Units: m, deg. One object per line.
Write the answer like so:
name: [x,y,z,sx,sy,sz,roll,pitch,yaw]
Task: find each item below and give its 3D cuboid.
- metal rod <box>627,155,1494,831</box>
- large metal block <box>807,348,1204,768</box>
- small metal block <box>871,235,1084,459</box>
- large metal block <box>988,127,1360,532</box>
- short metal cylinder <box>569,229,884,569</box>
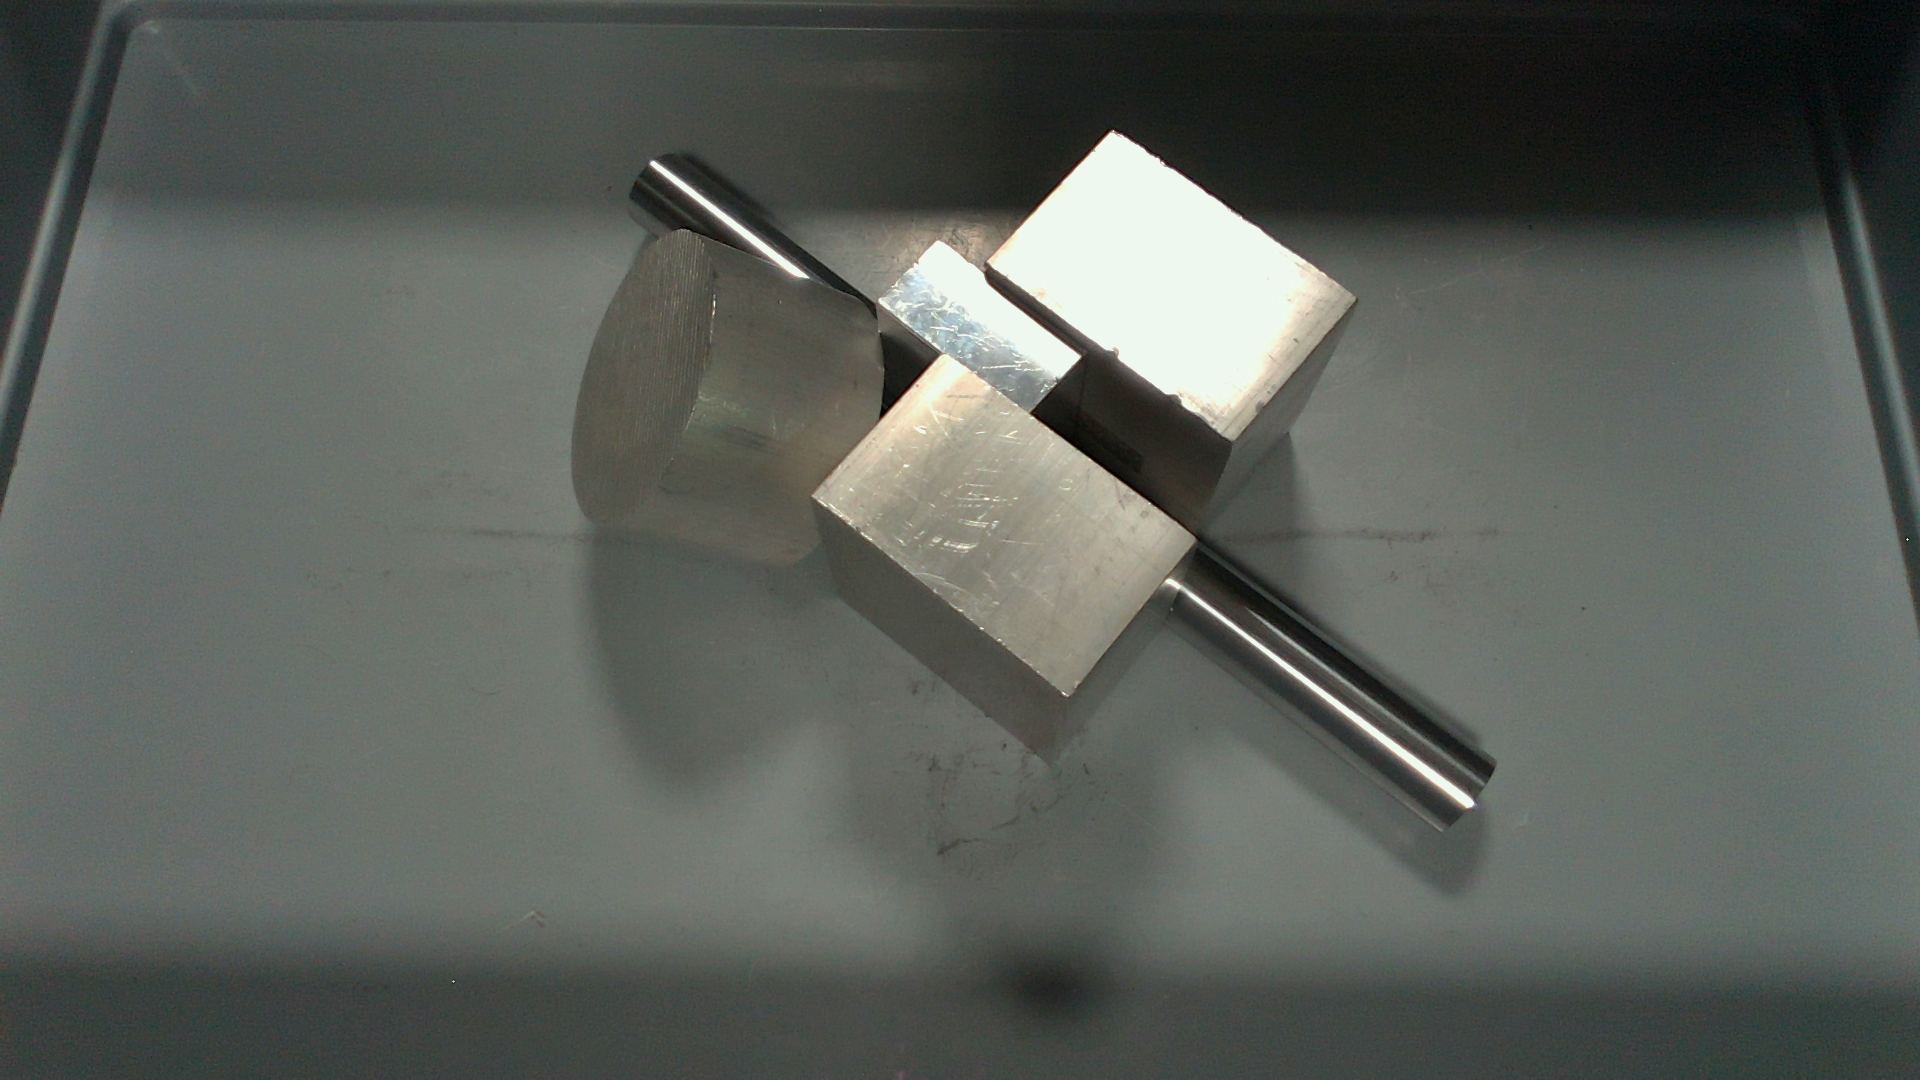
metal rod: [0.020,-0.021,0.402,0.300,0.025,0.025,38,74,12]
large metal block: [0.011,0.008,0.362,0.080,0.080,0.050,37,74,13]
small metal block: [0.004,-0.047,0.373,0.050,0.050,0.025,39,75,13]
large metal block: [0.054,-0.053,0.385,0.080,0.080,0.050,38,75,13]
short metal cylinder: [-0.064,-0.037,0.371,0.050,0.080,0.080,16,65,-36]
